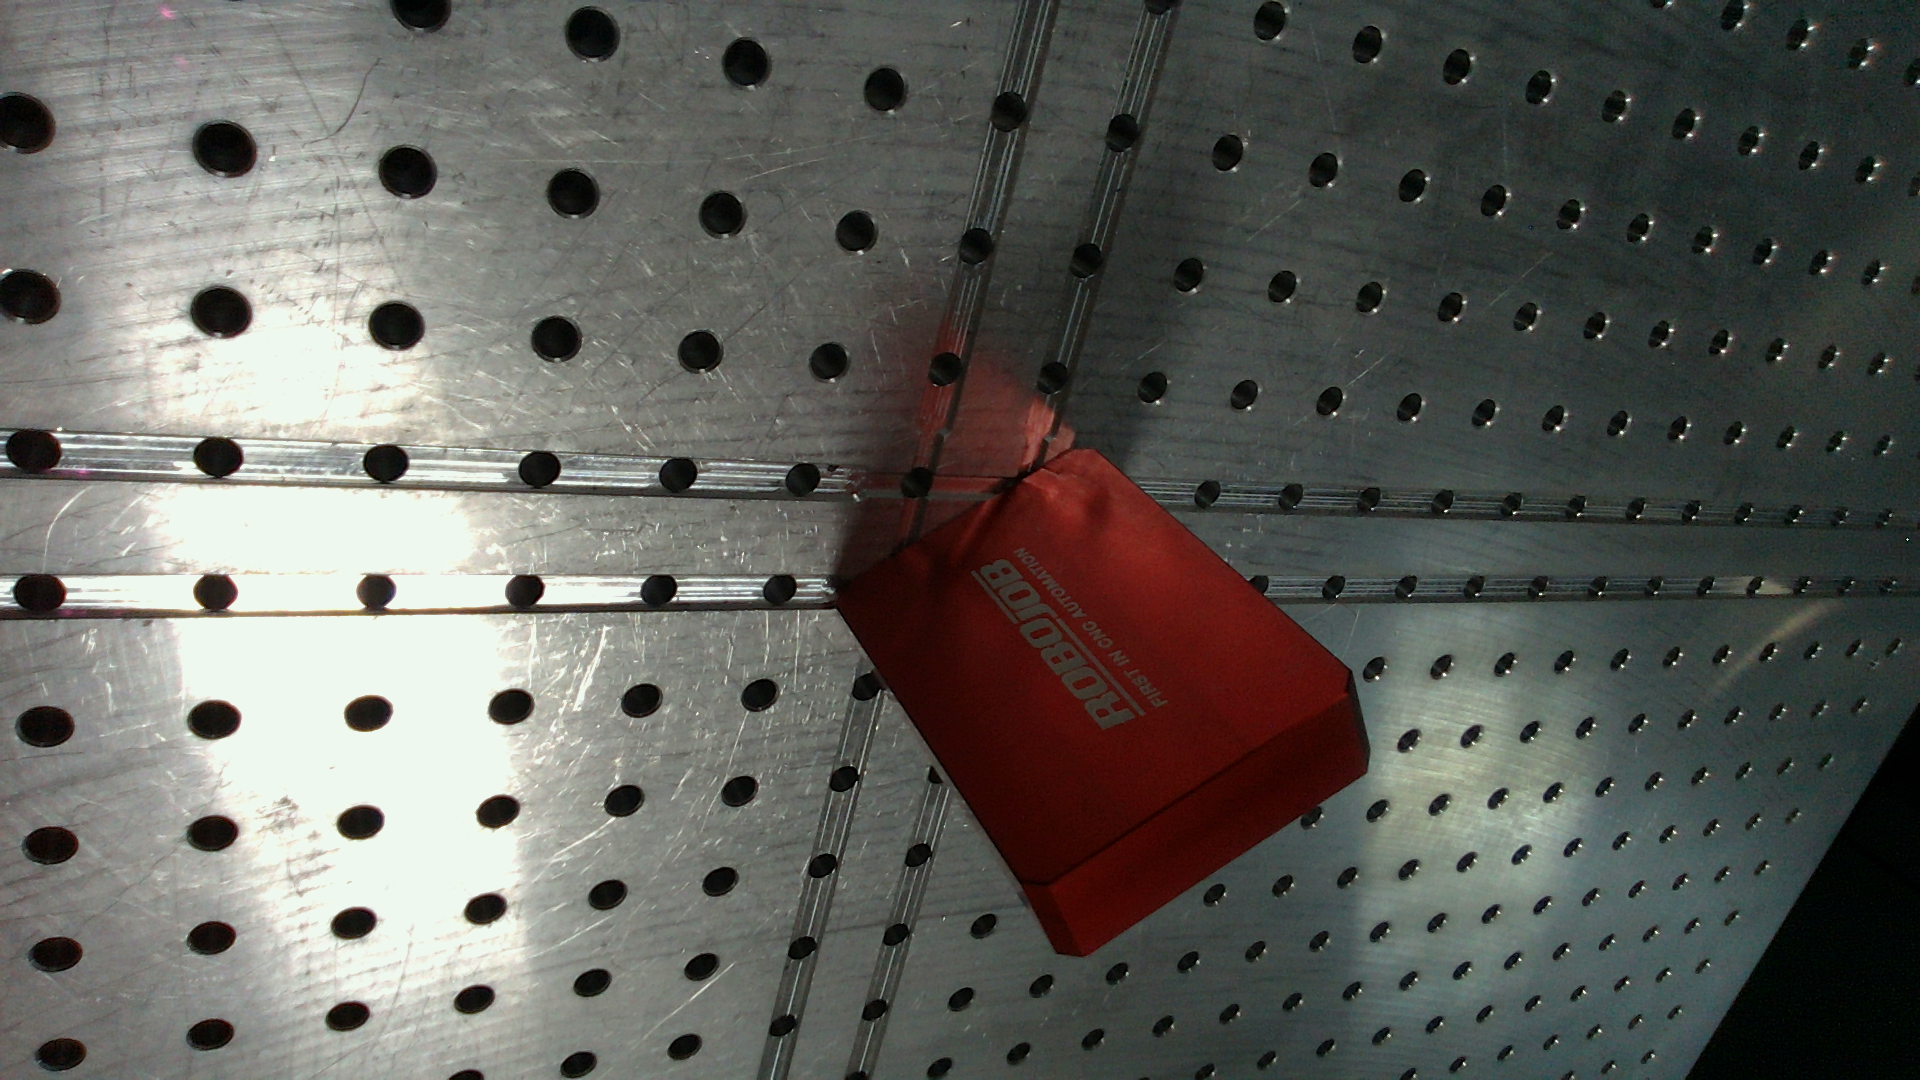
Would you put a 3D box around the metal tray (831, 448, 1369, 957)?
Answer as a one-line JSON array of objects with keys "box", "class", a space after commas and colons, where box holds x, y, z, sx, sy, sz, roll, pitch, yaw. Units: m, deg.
[{"box": [0.031, 0.034, 0.362, 0.090, 0.130, 0.030, -31, 128, -9], "class": "metal tray"}]
